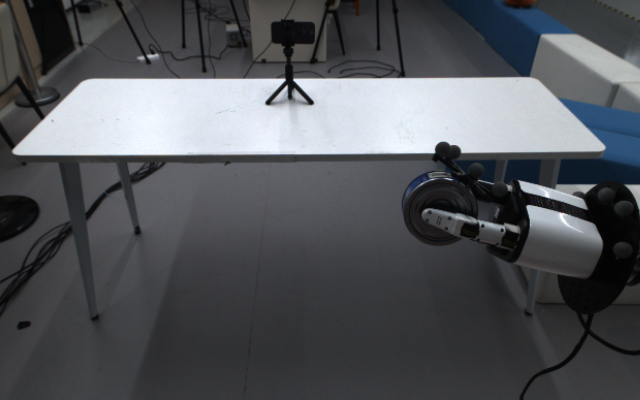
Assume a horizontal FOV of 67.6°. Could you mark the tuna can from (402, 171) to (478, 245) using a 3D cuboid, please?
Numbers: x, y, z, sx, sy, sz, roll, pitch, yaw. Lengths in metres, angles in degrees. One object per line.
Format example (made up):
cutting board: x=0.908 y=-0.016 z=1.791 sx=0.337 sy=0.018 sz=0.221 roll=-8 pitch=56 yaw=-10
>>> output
tuna can: x=0.142 y=0.008 z=0.570 sx=0.085 sy=0.085 sz=0.034 roll=7 pitch=19 yaw=6
